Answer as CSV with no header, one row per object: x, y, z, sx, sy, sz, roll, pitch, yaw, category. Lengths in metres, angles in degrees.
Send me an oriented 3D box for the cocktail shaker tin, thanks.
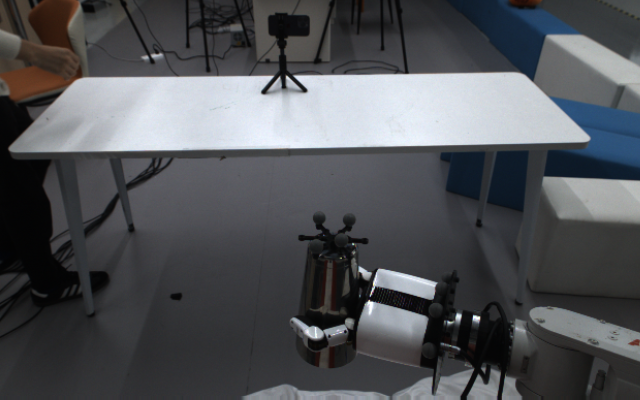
0.016,0.132,0.659,0.093,0.170,0.093,2,28,-1,cocktail shaker tin
